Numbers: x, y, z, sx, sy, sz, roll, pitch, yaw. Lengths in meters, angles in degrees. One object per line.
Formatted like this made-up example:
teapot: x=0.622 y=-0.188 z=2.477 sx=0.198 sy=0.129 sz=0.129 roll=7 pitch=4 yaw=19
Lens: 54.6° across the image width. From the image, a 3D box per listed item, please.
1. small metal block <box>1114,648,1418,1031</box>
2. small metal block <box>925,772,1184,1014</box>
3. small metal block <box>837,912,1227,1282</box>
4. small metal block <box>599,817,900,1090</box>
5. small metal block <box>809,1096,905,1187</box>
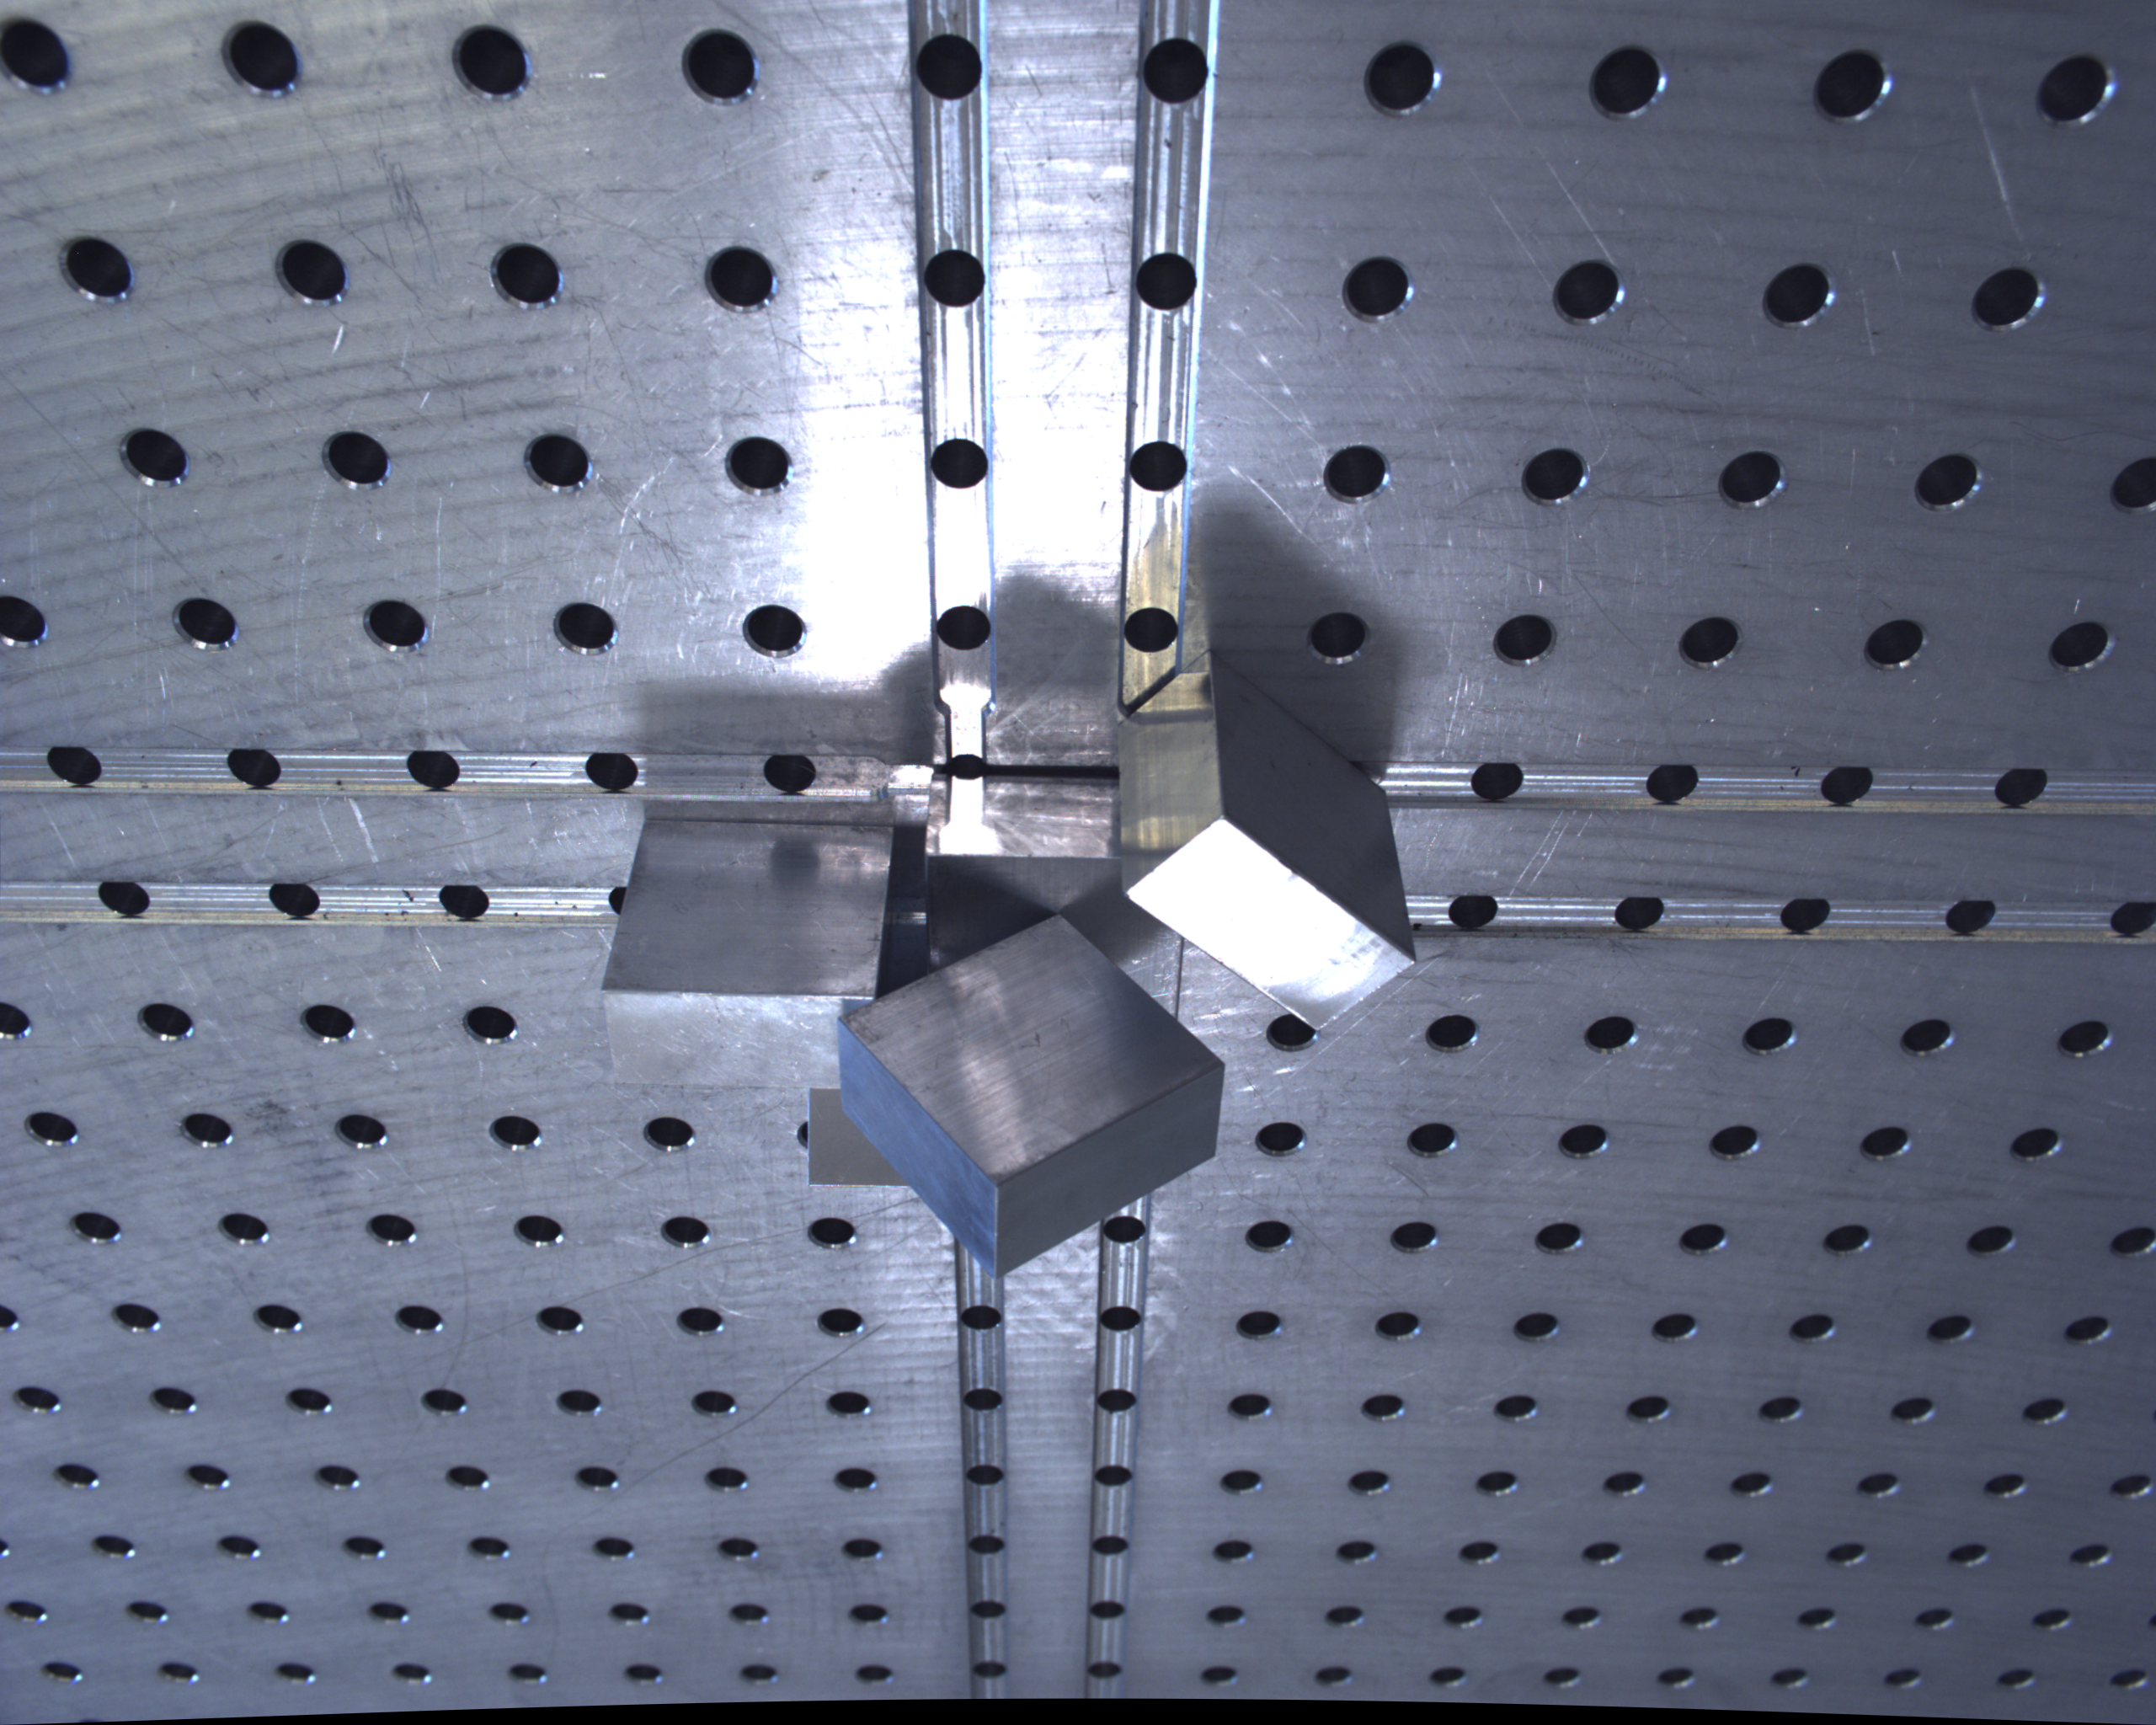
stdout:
small metal block: x=0.034 y=-0.005 z=0.391 sx=0.050 sy=0.050 sz=0.025 roll=35 pitch=121 yaw=-26
small metal block: x=-0.004 y=0.009 z=0.419 sx=0.050 sy=0.025 sz=0.050 roll=0 pitch=130 yaw=-2
small metal block: x=-0.009 y=0.042 z=0.384 sx=0.050 sy=0.050 sz=0.025 roll=-25 pitch=138 yaw=-29
small metal block: x=-0.062 y=0.017 z=0.409 sx=0.050 sy=0.050 sz=0.025 roll=2 pitch=131 yaw=-1
small metal block: x=-0.027 y=0.048 z=0.432 sx=0.050 sy=0.050 sz=0.025 roll=1 pitch=99 yaw=-1
